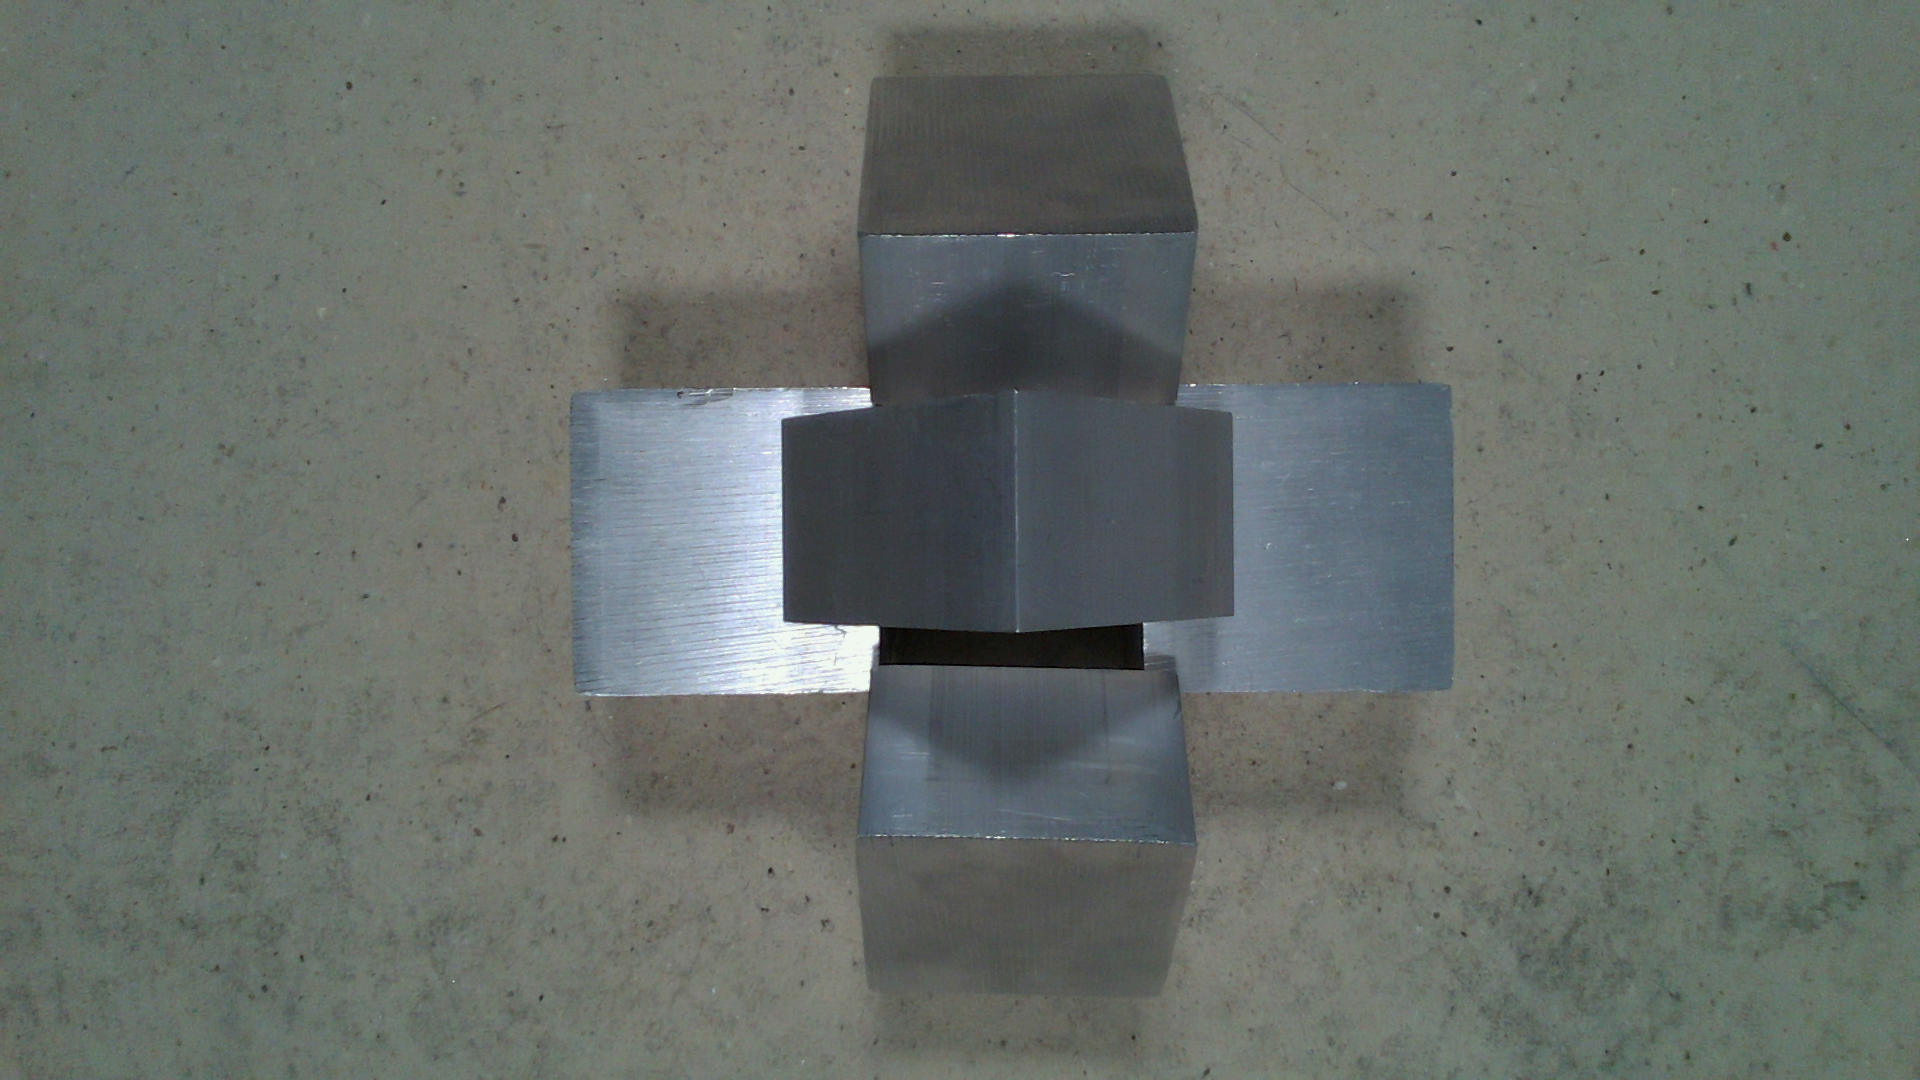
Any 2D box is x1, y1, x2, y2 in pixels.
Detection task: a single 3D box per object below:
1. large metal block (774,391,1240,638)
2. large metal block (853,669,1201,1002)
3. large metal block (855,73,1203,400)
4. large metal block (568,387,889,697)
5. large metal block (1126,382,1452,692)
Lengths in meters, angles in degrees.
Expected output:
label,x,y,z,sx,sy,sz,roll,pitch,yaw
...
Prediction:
label,x,y,z,sx,sy,sz,roll,pitch,yaw
large metal block,0.012,-0.006,0.335,0.080,0.080,0.050,0,90,44
large metal block,0.016,0.079,0.362,0.080,0.080,0.050,1,47,1
large metal block,0.016,-0.081,0.362,0.080,0.080,0.050,0,134,0
large metal block,-0.061,0.000,0.383,0.080,0.050,0.080,-1,90,0
large metal block,0.087,-0.001,0.380,0.080,0.050,0.080,0,90,0
